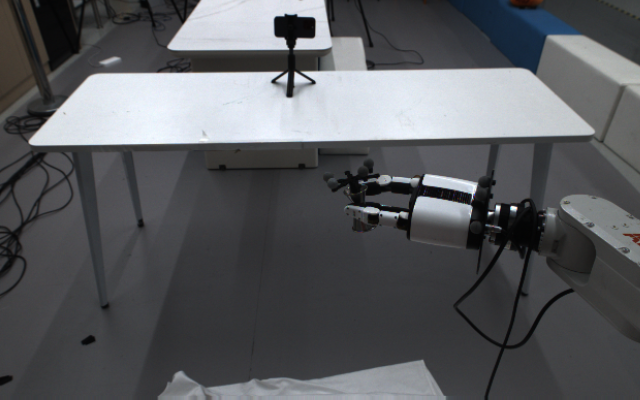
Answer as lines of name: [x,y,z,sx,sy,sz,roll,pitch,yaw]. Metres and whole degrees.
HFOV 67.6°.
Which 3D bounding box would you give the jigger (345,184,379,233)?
jigger: [0.066,0.013,0.785,0.043,0.071,0.043,-14,21,6]
